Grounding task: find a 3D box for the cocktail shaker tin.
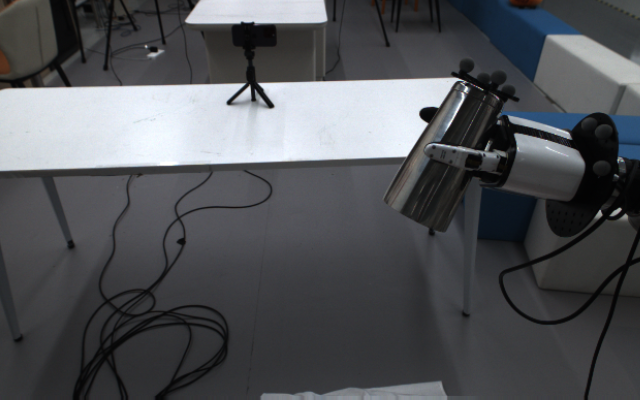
[{"bbox_3d":[0.160,-0.059,0.606,0.093,0.170,0.093,24,13,-6],"label":"cocktail shaker tin"}]
